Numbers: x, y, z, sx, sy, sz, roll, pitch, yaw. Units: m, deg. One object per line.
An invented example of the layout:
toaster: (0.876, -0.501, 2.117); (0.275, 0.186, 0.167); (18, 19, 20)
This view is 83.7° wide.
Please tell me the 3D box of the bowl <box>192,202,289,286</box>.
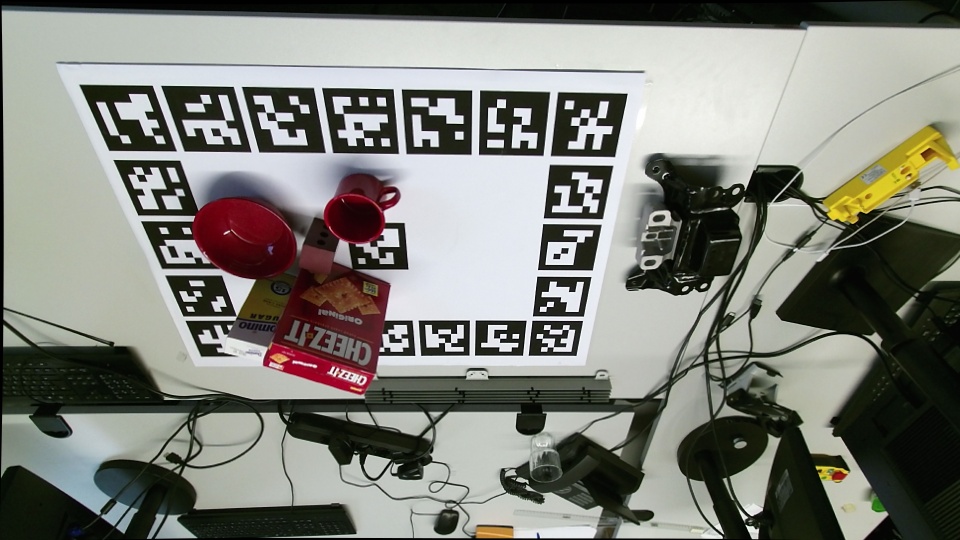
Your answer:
bowl: (-0.386, -0.052, 0.871); (0.162, 0.055, 0.162); (-1, 126, -1)

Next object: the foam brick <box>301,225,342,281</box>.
foam brick: (-0.264, -0.029, 0.898); (0.053, 0.078, 0.051); (12, 126, -12)

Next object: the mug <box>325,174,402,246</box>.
mug: (-0.179, -0.097, 0.837); (0.117, 0.081, 0.093); (-8, 135, 2)

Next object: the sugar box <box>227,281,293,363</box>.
sugar box: (-0.360, 0.094, 0.920); (0.093, 0.175, 0.045); (17, 124, -15)

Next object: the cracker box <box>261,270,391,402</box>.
cracker box: (-0.248, 0.094, 0.903); (0.165, 0.212, 0.072); (25, 124, -19)
